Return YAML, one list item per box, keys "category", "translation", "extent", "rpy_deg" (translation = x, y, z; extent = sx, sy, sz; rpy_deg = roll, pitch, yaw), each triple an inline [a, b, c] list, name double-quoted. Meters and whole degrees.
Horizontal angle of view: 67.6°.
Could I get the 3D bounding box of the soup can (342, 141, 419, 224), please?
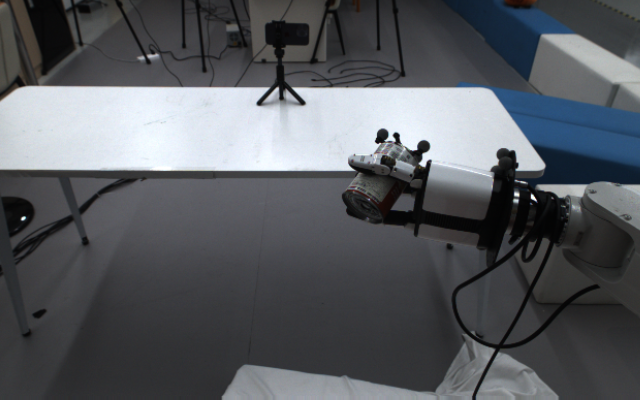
- category: "soup can"
  translation: [0.086, -0.028, 0.687]
  extent: [0.067, 0.067, 0.101]
  rpy_deg: [26, 66, 30]
